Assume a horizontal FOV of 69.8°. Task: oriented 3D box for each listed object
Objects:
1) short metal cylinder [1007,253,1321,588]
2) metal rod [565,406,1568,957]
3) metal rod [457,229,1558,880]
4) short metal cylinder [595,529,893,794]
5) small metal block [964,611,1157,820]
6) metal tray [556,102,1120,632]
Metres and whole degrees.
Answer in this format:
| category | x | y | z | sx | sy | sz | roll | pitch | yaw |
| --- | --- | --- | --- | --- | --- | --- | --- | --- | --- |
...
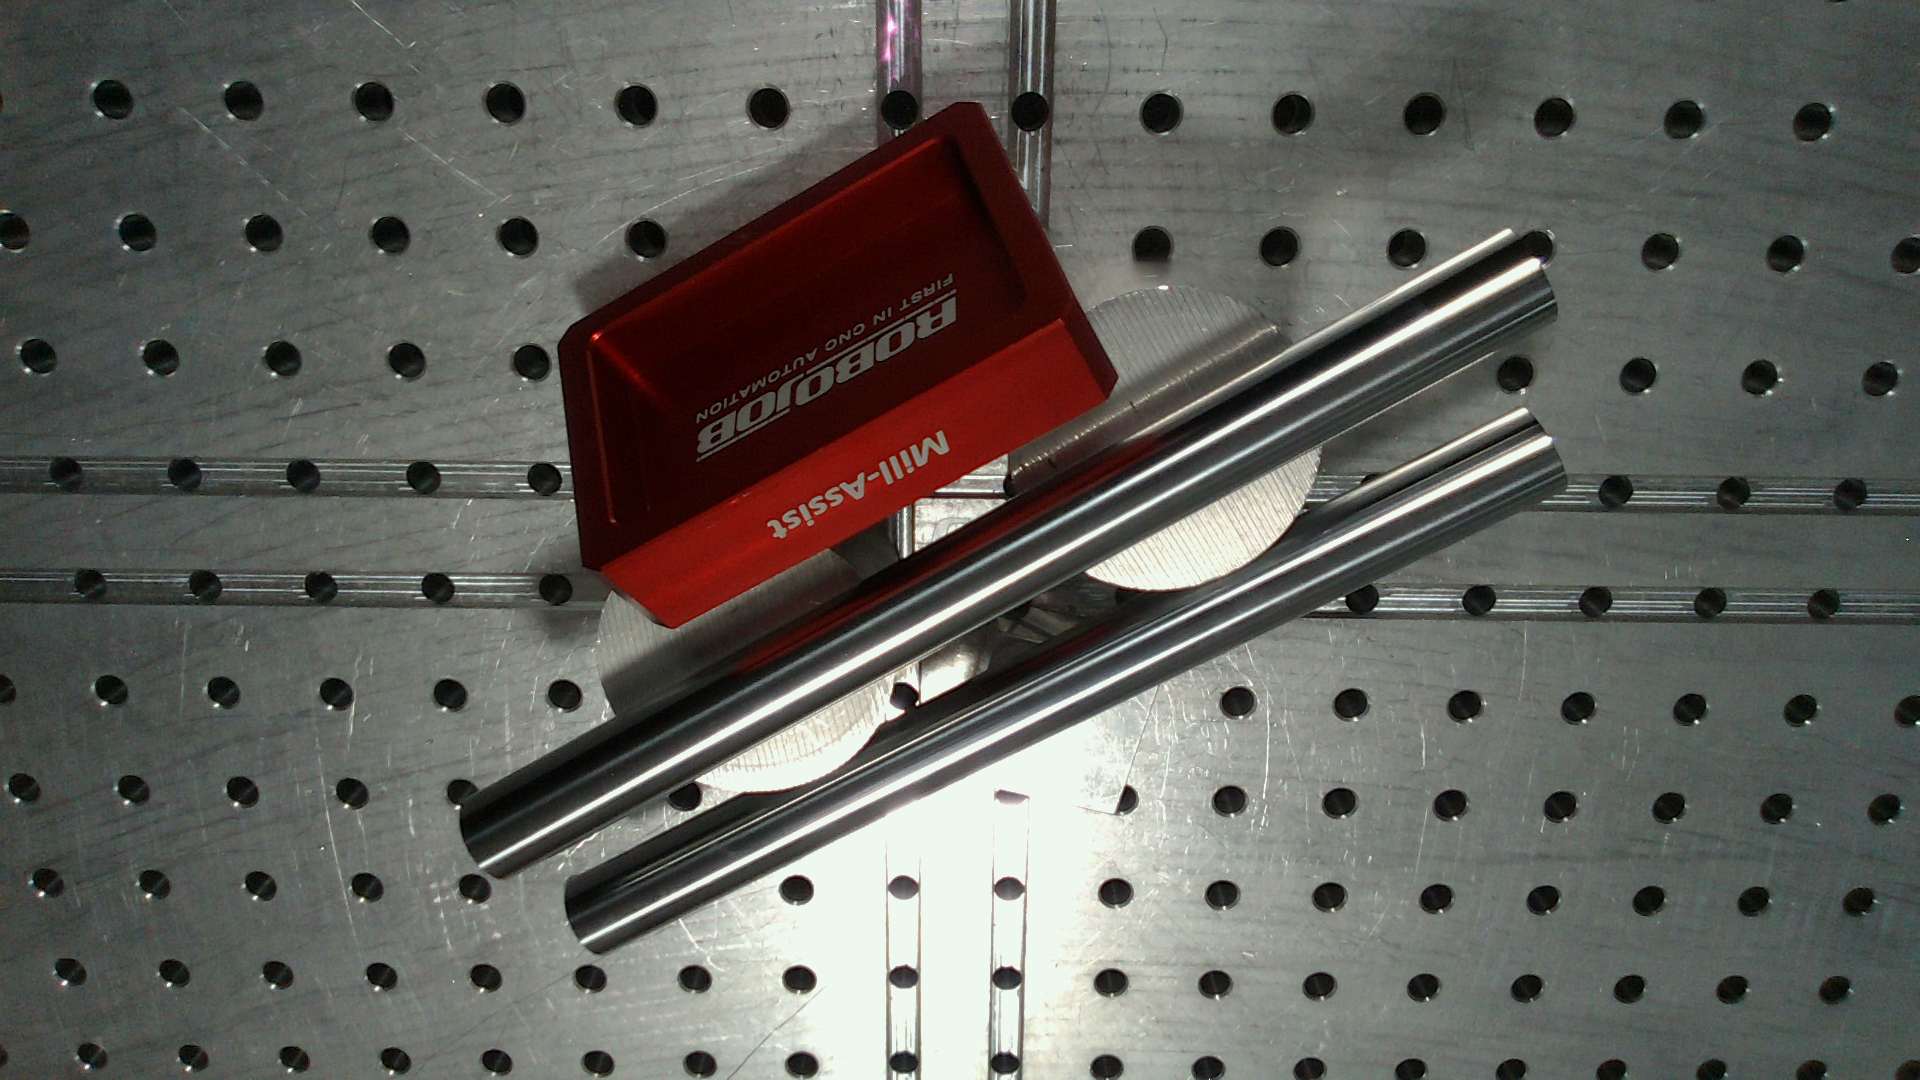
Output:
| category | x | y | z | sx | sy | sz | roll | pitch | yaw |
| --- | --- | --- | --- | --- | --- | --- | --- | --- | --- |
| short metal cylinder | 0.052 | -0.034 | 0.371 | 0.080 | 0.050 | 0.080 | 0 | 110 | 0 |
| metal rod | 0.021 | 0.044 | 0.385 | 0.300 | 0.025 | 0.025 | -27 | 108 | 9 |
| metal rod | 0.003 | 0.009 | 0.345 | 0.300 | 0.025 | 0.025 | -29 | 108 | 10 |
| short metal cylinder | -0.058 | 0.025 | 0.392 | 0.080 | 0.050 | 0.080 | 0 | 110 | 0 |
| small metal block | 0.029 | 0.051 | 0.414 | 0.050 | 0.025 | 0.050 | 14 | 110 | -5 |
| metal tray | -0.036 | -0.045 | 0.344 | 0.130 | 0.090 | 0.030 | -27 | 140 | 9 |
